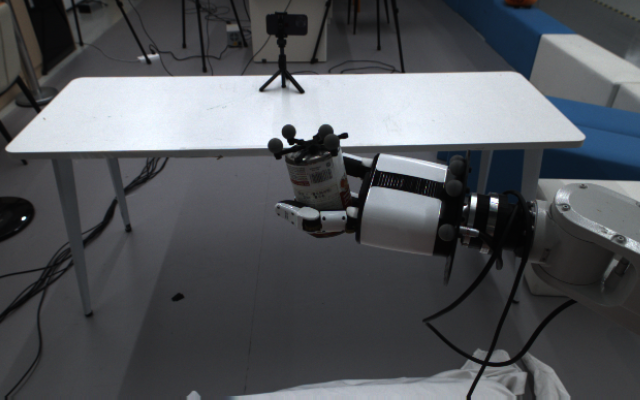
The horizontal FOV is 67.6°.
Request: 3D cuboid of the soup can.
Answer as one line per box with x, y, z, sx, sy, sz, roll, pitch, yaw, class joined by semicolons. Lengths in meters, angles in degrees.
0.004;-0.014;0.579;0.067;0.101;0.067;-11;28;6;soup can
